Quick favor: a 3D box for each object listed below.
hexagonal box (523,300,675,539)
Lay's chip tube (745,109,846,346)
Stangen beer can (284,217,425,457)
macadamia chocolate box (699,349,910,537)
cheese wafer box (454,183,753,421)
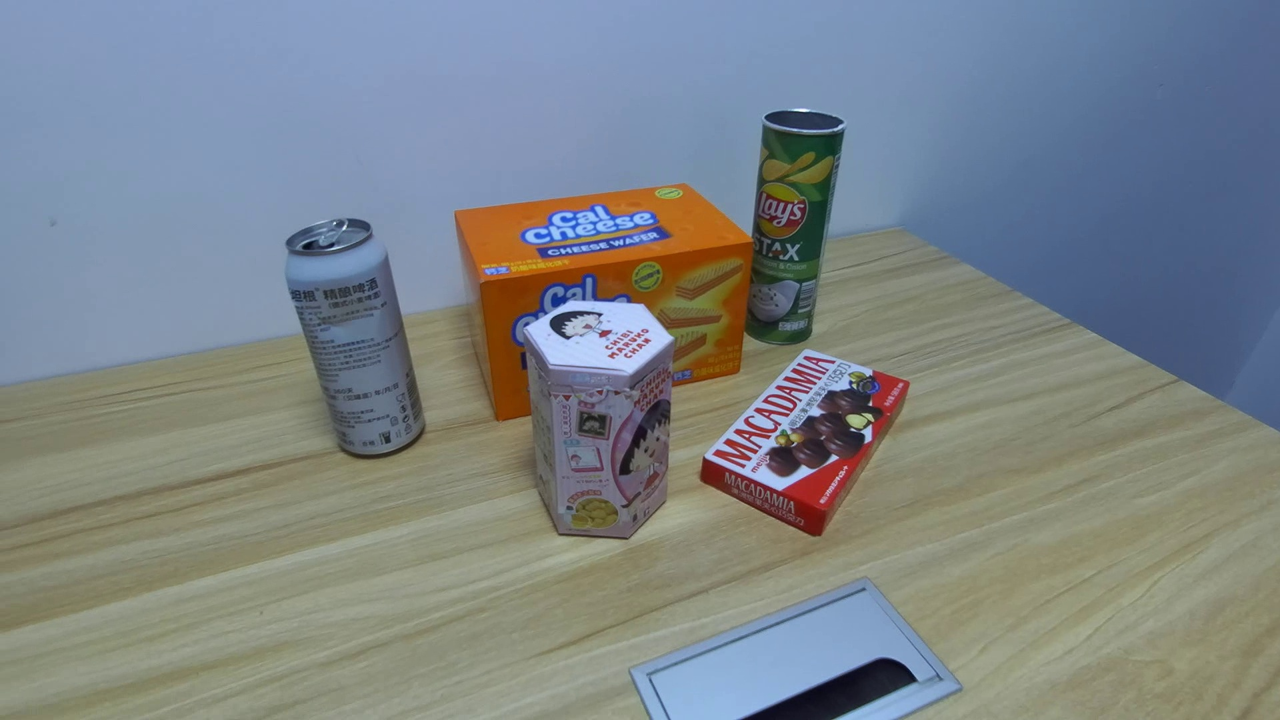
[{"bbox_3d":[-0.024,0.040,0.456,0.083,0.136,0.091,21,38,28],"label":"hexagonal box"},{"bbox_3d":[0.135,-0.116,0.636,0.071,0.203,0.071,0,33,0],"label":"Lay's chip tube"},{"bbox_3d":[-0.203,-0.014,0.504,0.070,0.173,0.069,-22,38,-30],"label":"Stangen beer can"},{"bbox_3d":[0.132,0.053,0.541,0.095,0.027,0.178,22,39,29],"label":"macadamia chocolate box"},{"bbox_3d":[-0.034,-0.059,0.619,0.222,0.129,0.147,-11,35,-16],"label":"cheese wafer box"}]
